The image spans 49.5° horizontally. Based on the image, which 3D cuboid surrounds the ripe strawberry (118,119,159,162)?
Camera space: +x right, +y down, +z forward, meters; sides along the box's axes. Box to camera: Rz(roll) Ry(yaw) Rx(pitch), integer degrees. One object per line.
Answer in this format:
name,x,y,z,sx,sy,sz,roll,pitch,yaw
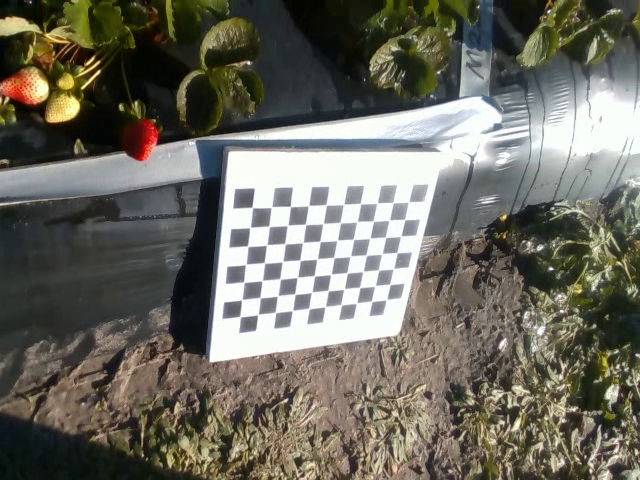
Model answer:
ripe strawberry,-0.144,-0.077,0.561,0.036,0.038,0.046,-4,42,-24
